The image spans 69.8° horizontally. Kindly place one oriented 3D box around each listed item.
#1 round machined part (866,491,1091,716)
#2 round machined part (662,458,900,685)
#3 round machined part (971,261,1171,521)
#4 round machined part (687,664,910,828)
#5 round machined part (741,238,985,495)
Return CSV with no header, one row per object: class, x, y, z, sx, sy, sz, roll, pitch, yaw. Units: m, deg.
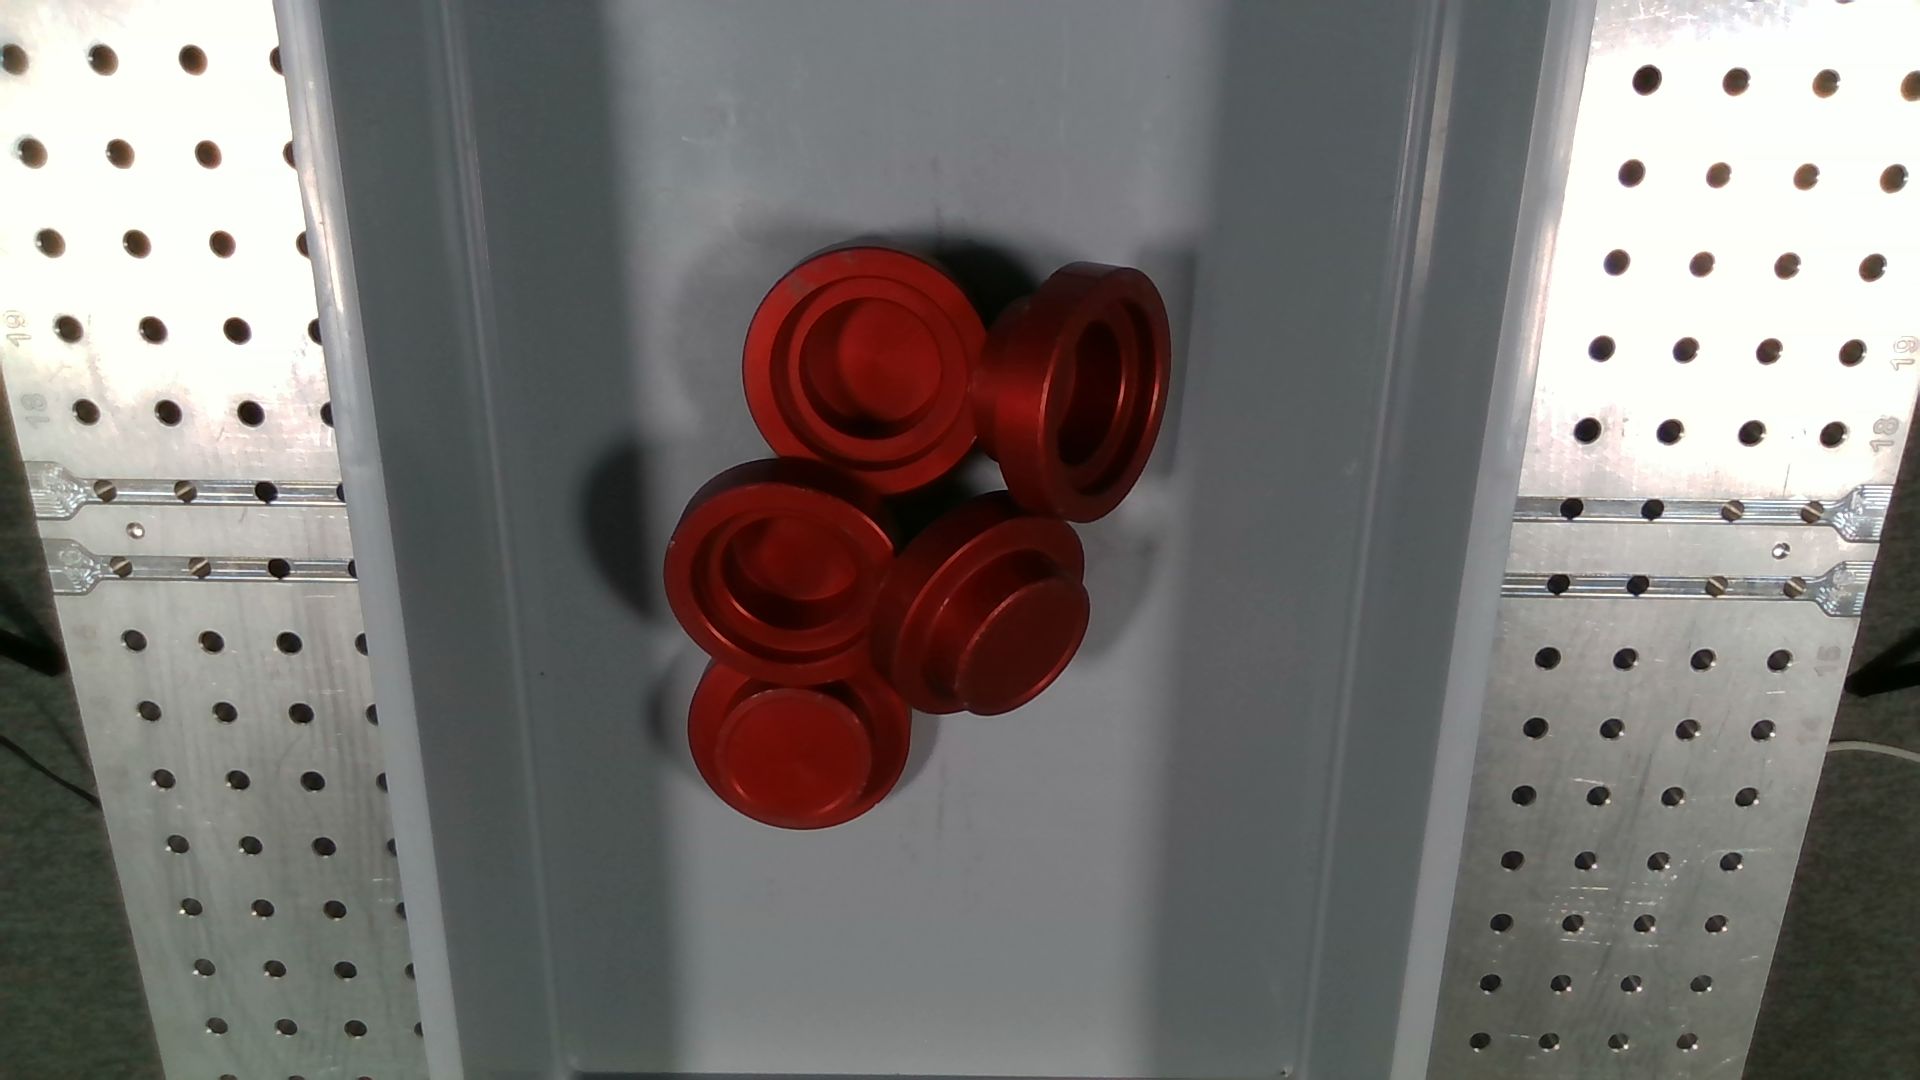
round machined part,0.014,0.032,0.557,0.098,0.042,0.098,-27,138,-27
round machined part,-0.069,0.009,0.565,0.098,0.042,0.098,3,123,5
round machined part,0.040,-0.059,0.533,0.042,0.098,0.098,16,114,32
round machined part,-0.071,0.085,0.605,0.098,0.042,0.098,0,110,0
round machined part,-0.035,-0.071,0.547,0.098,0.042,0.098,0,110,0
